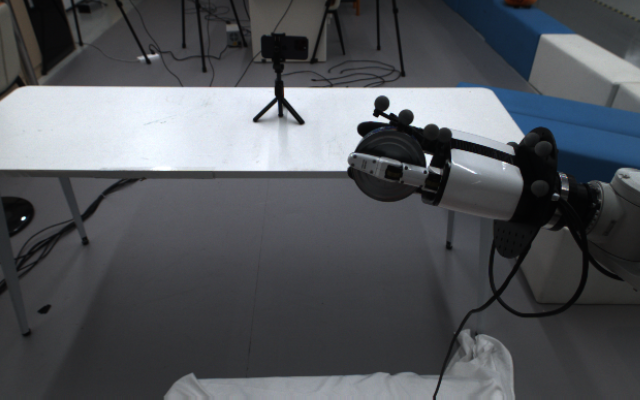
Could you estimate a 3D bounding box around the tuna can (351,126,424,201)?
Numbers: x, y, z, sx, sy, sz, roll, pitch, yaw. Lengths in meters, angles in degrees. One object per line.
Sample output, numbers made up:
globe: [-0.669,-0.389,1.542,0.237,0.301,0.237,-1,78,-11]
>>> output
tuna can: [0.083,-0.045,0.573,0.085,0.085,0.034,7,17,7]
